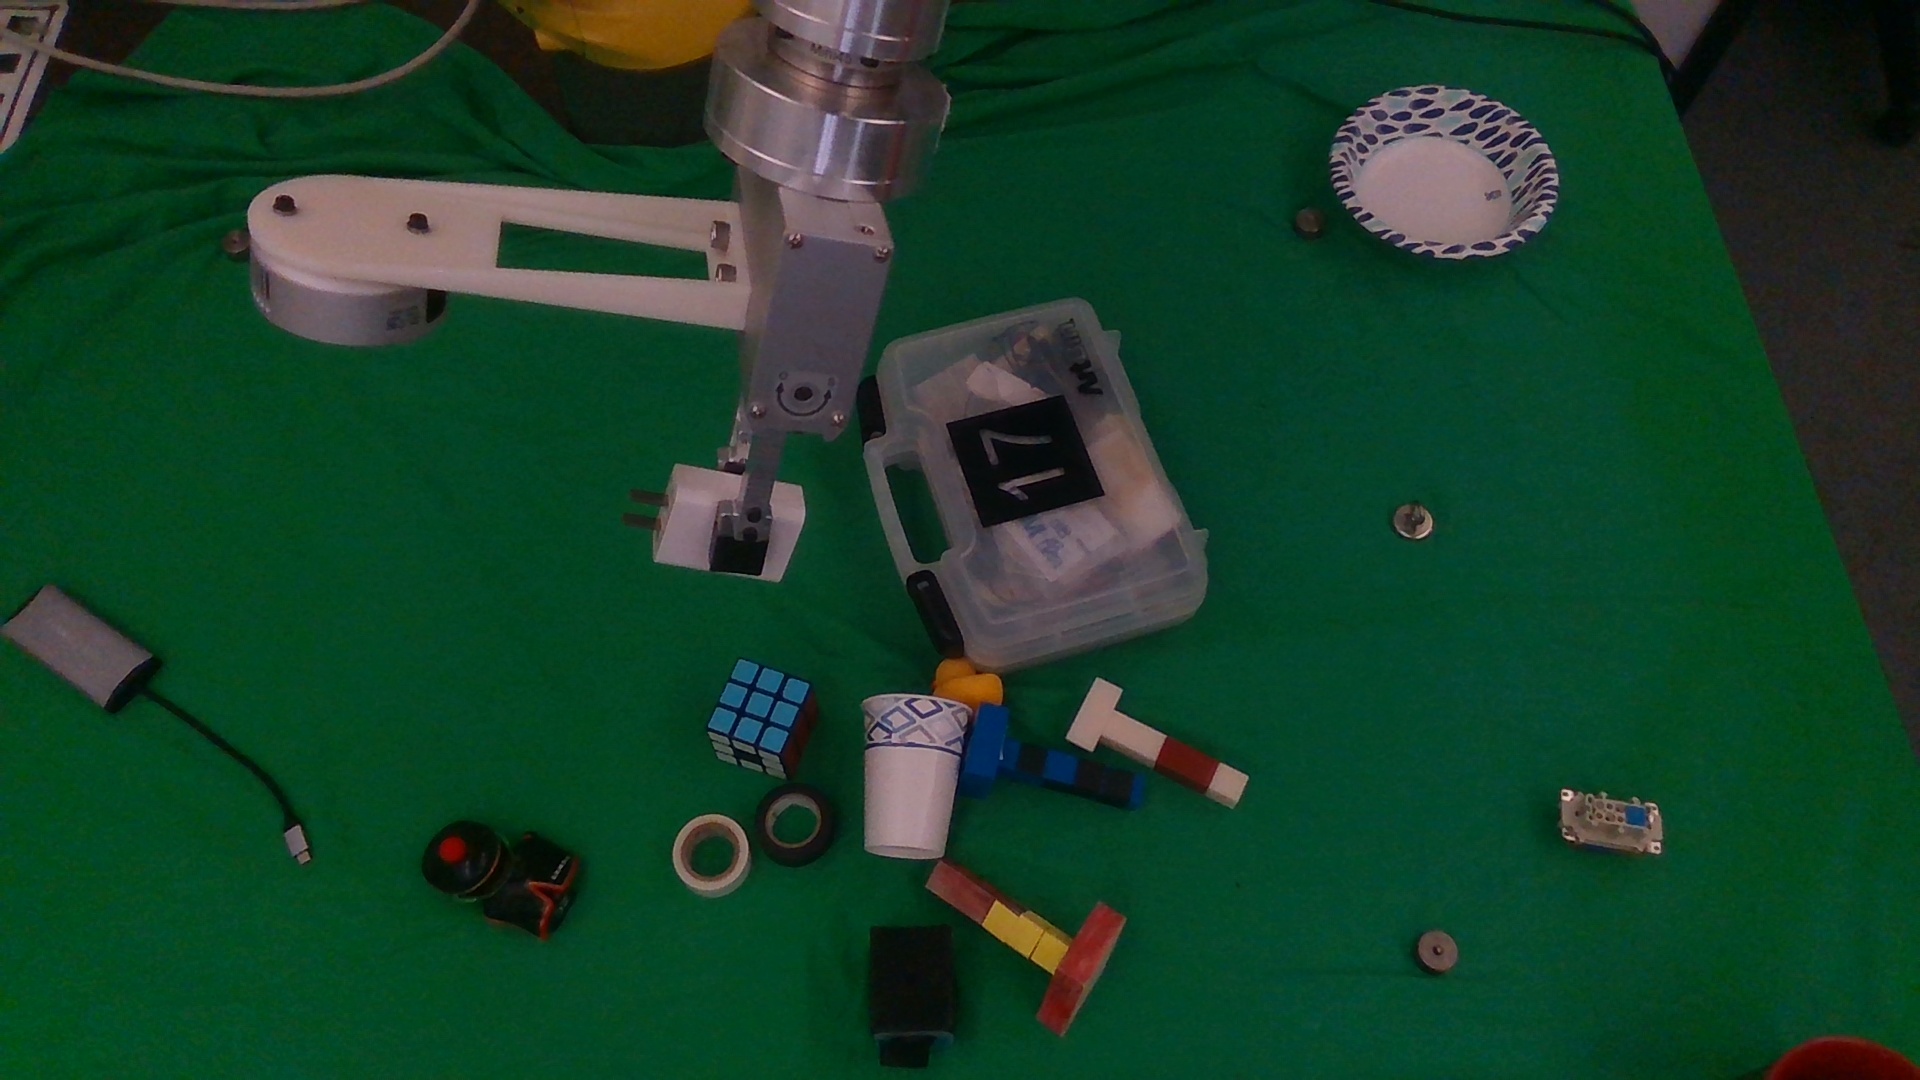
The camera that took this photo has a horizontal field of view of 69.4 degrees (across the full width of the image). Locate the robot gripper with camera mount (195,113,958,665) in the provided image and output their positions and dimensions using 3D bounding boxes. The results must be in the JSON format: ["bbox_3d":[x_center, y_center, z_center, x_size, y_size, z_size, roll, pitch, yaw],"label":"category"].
[{"bbox_3d":[-0.120,-0.042,0.410,0.193,0.159,0.119,7,37,-15],"label":"robot gripper with camera mount"}]

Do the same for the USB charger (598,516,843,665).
[{"bbox_3d":[-0.082,0.016,0.463,0.075,0.045,0.029,12,29,-27],"label":"USB charger"}]
